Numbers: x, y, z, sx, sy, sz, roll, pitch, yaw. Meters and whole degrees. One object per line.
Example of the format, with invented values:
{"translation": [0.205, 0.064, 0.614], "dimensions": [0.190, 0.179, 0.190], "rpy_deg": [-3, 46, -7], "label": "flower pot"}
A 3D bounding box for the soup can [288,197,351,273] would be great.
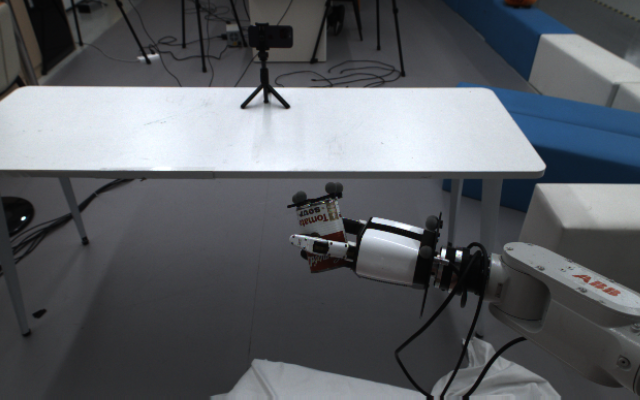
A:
{"translation": [0.007, 0.055, 0.739], "dimensions": [0.067, 0.101, 0.067], "rpy_deg": [-14, -2, -1], "label": "soup can"}
